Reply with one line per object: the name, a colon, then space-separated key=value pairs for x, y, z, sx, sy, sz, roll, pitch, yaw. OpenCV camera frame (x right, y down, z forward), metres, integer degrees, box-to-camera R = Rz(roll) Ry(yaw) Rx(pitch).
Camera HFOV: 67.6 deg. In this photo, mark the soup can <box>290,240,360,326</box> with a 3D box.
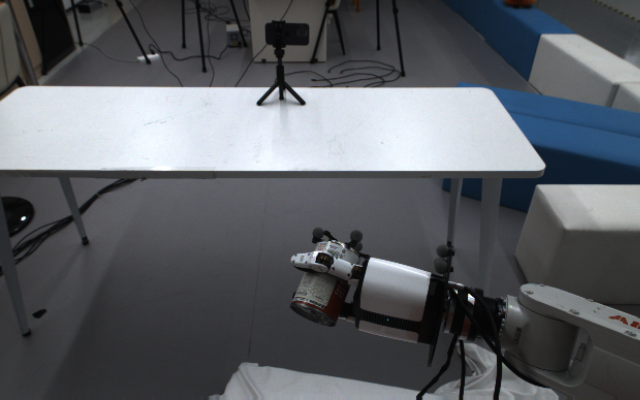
soup can: x=0.011 y=0.114 z=0.670 sx=0.067 sy=0.067 sz=0.101 roll=15 pitch=63 yaw=18
